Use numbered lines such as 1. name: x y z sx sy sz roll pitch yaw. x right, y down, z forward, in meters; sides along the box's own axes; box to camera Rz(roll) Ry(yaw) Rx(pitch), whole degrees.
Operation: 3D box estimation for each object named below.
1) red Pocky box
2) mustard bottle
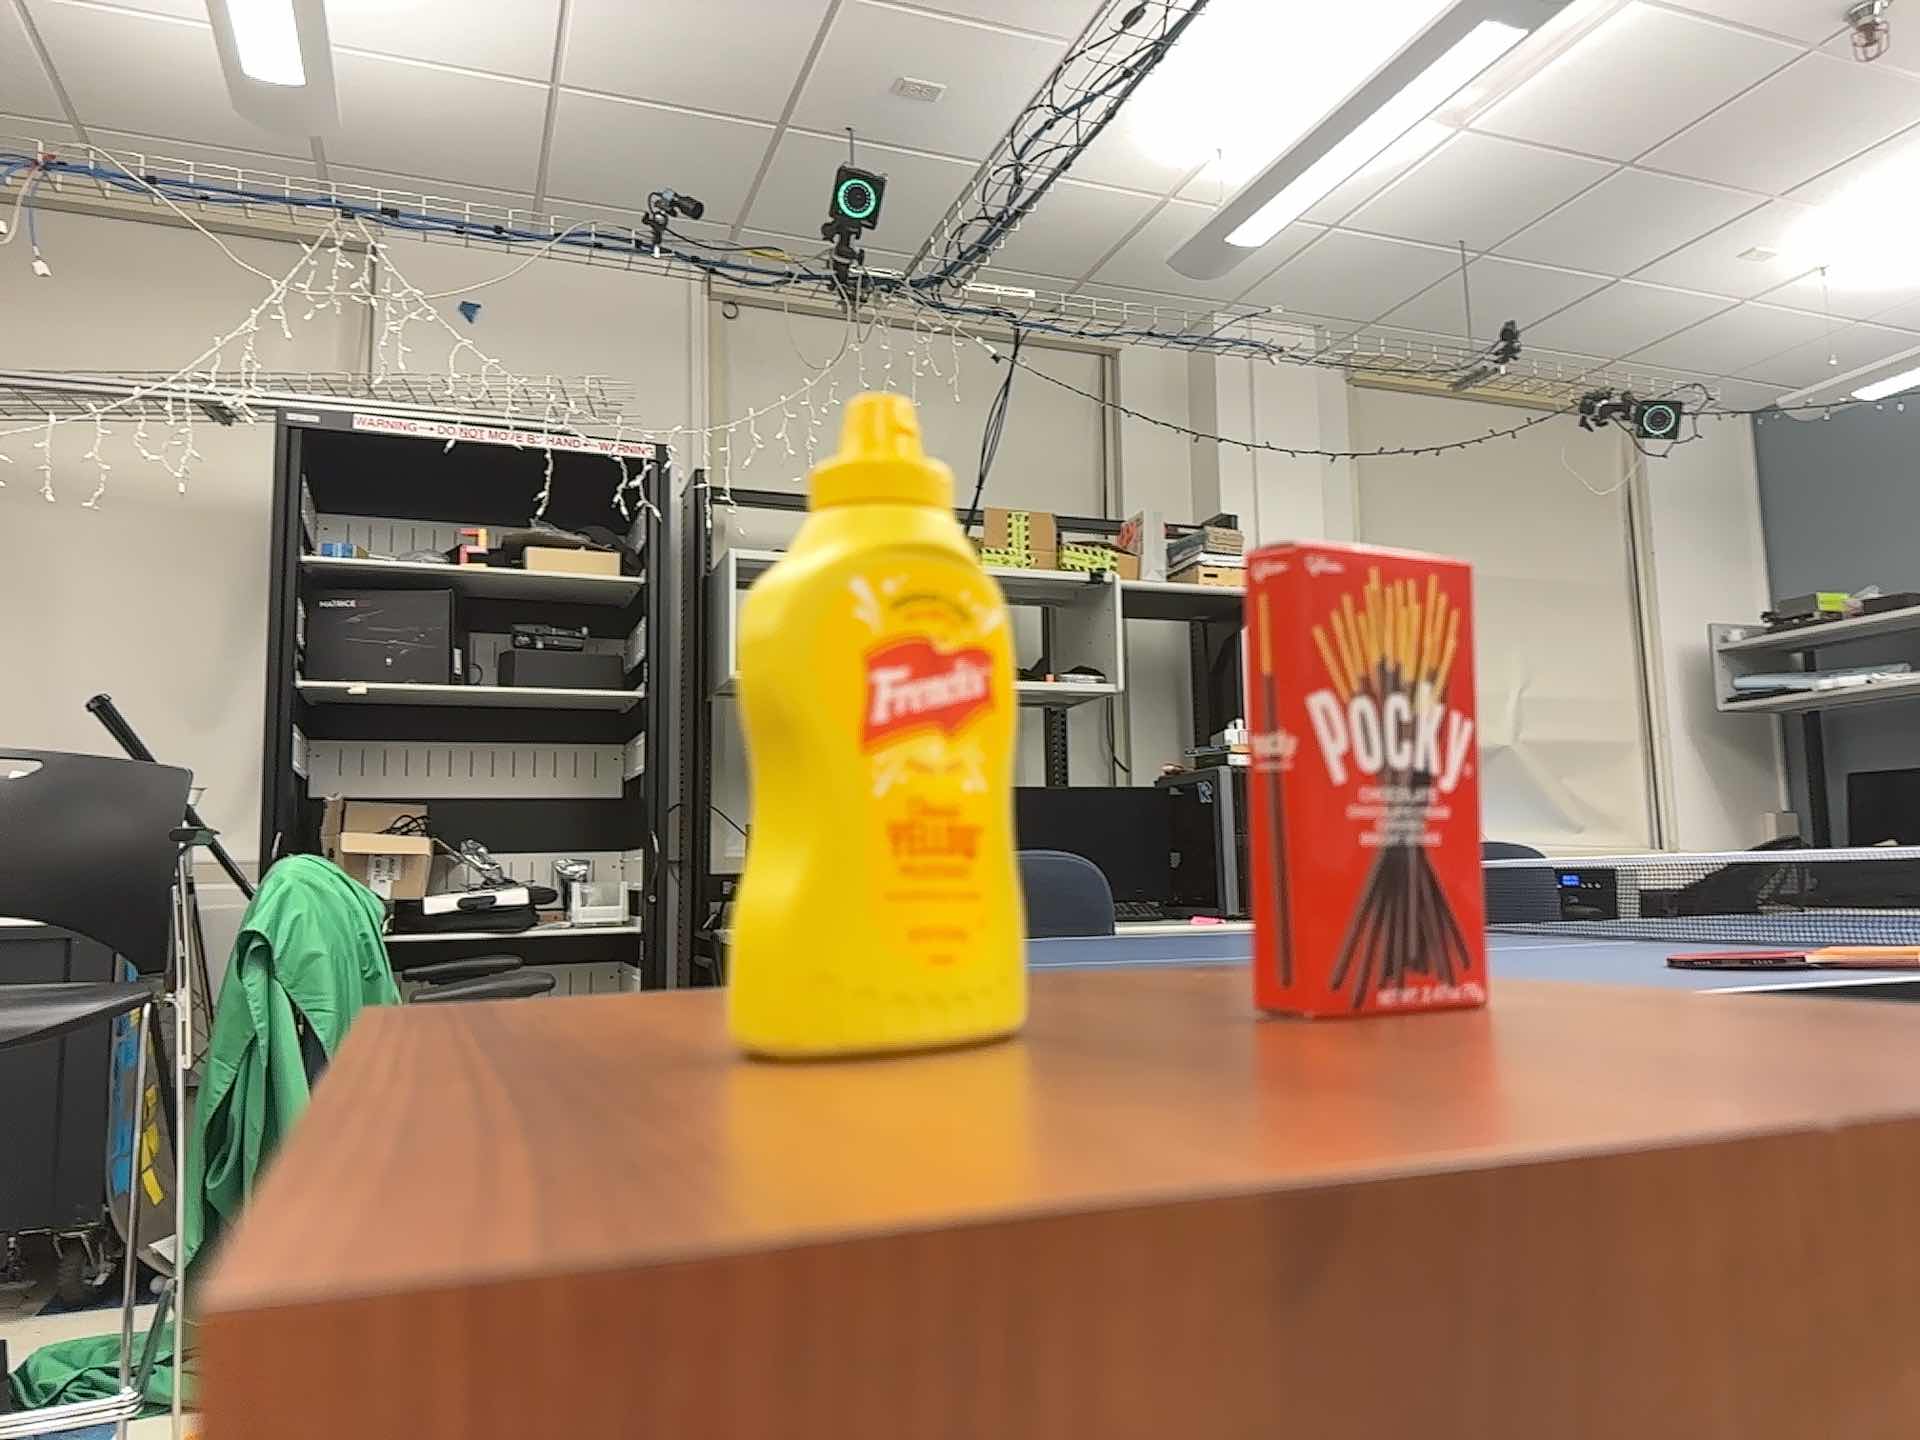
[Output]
1. red Pocky box: 0.132 0.019 0.439 0.083 0.155 0.028 3 -9 -26
2. mustard bottle: -0.023 -0.005 0.367 0.092 0.184 0.054 6 -11 -38
